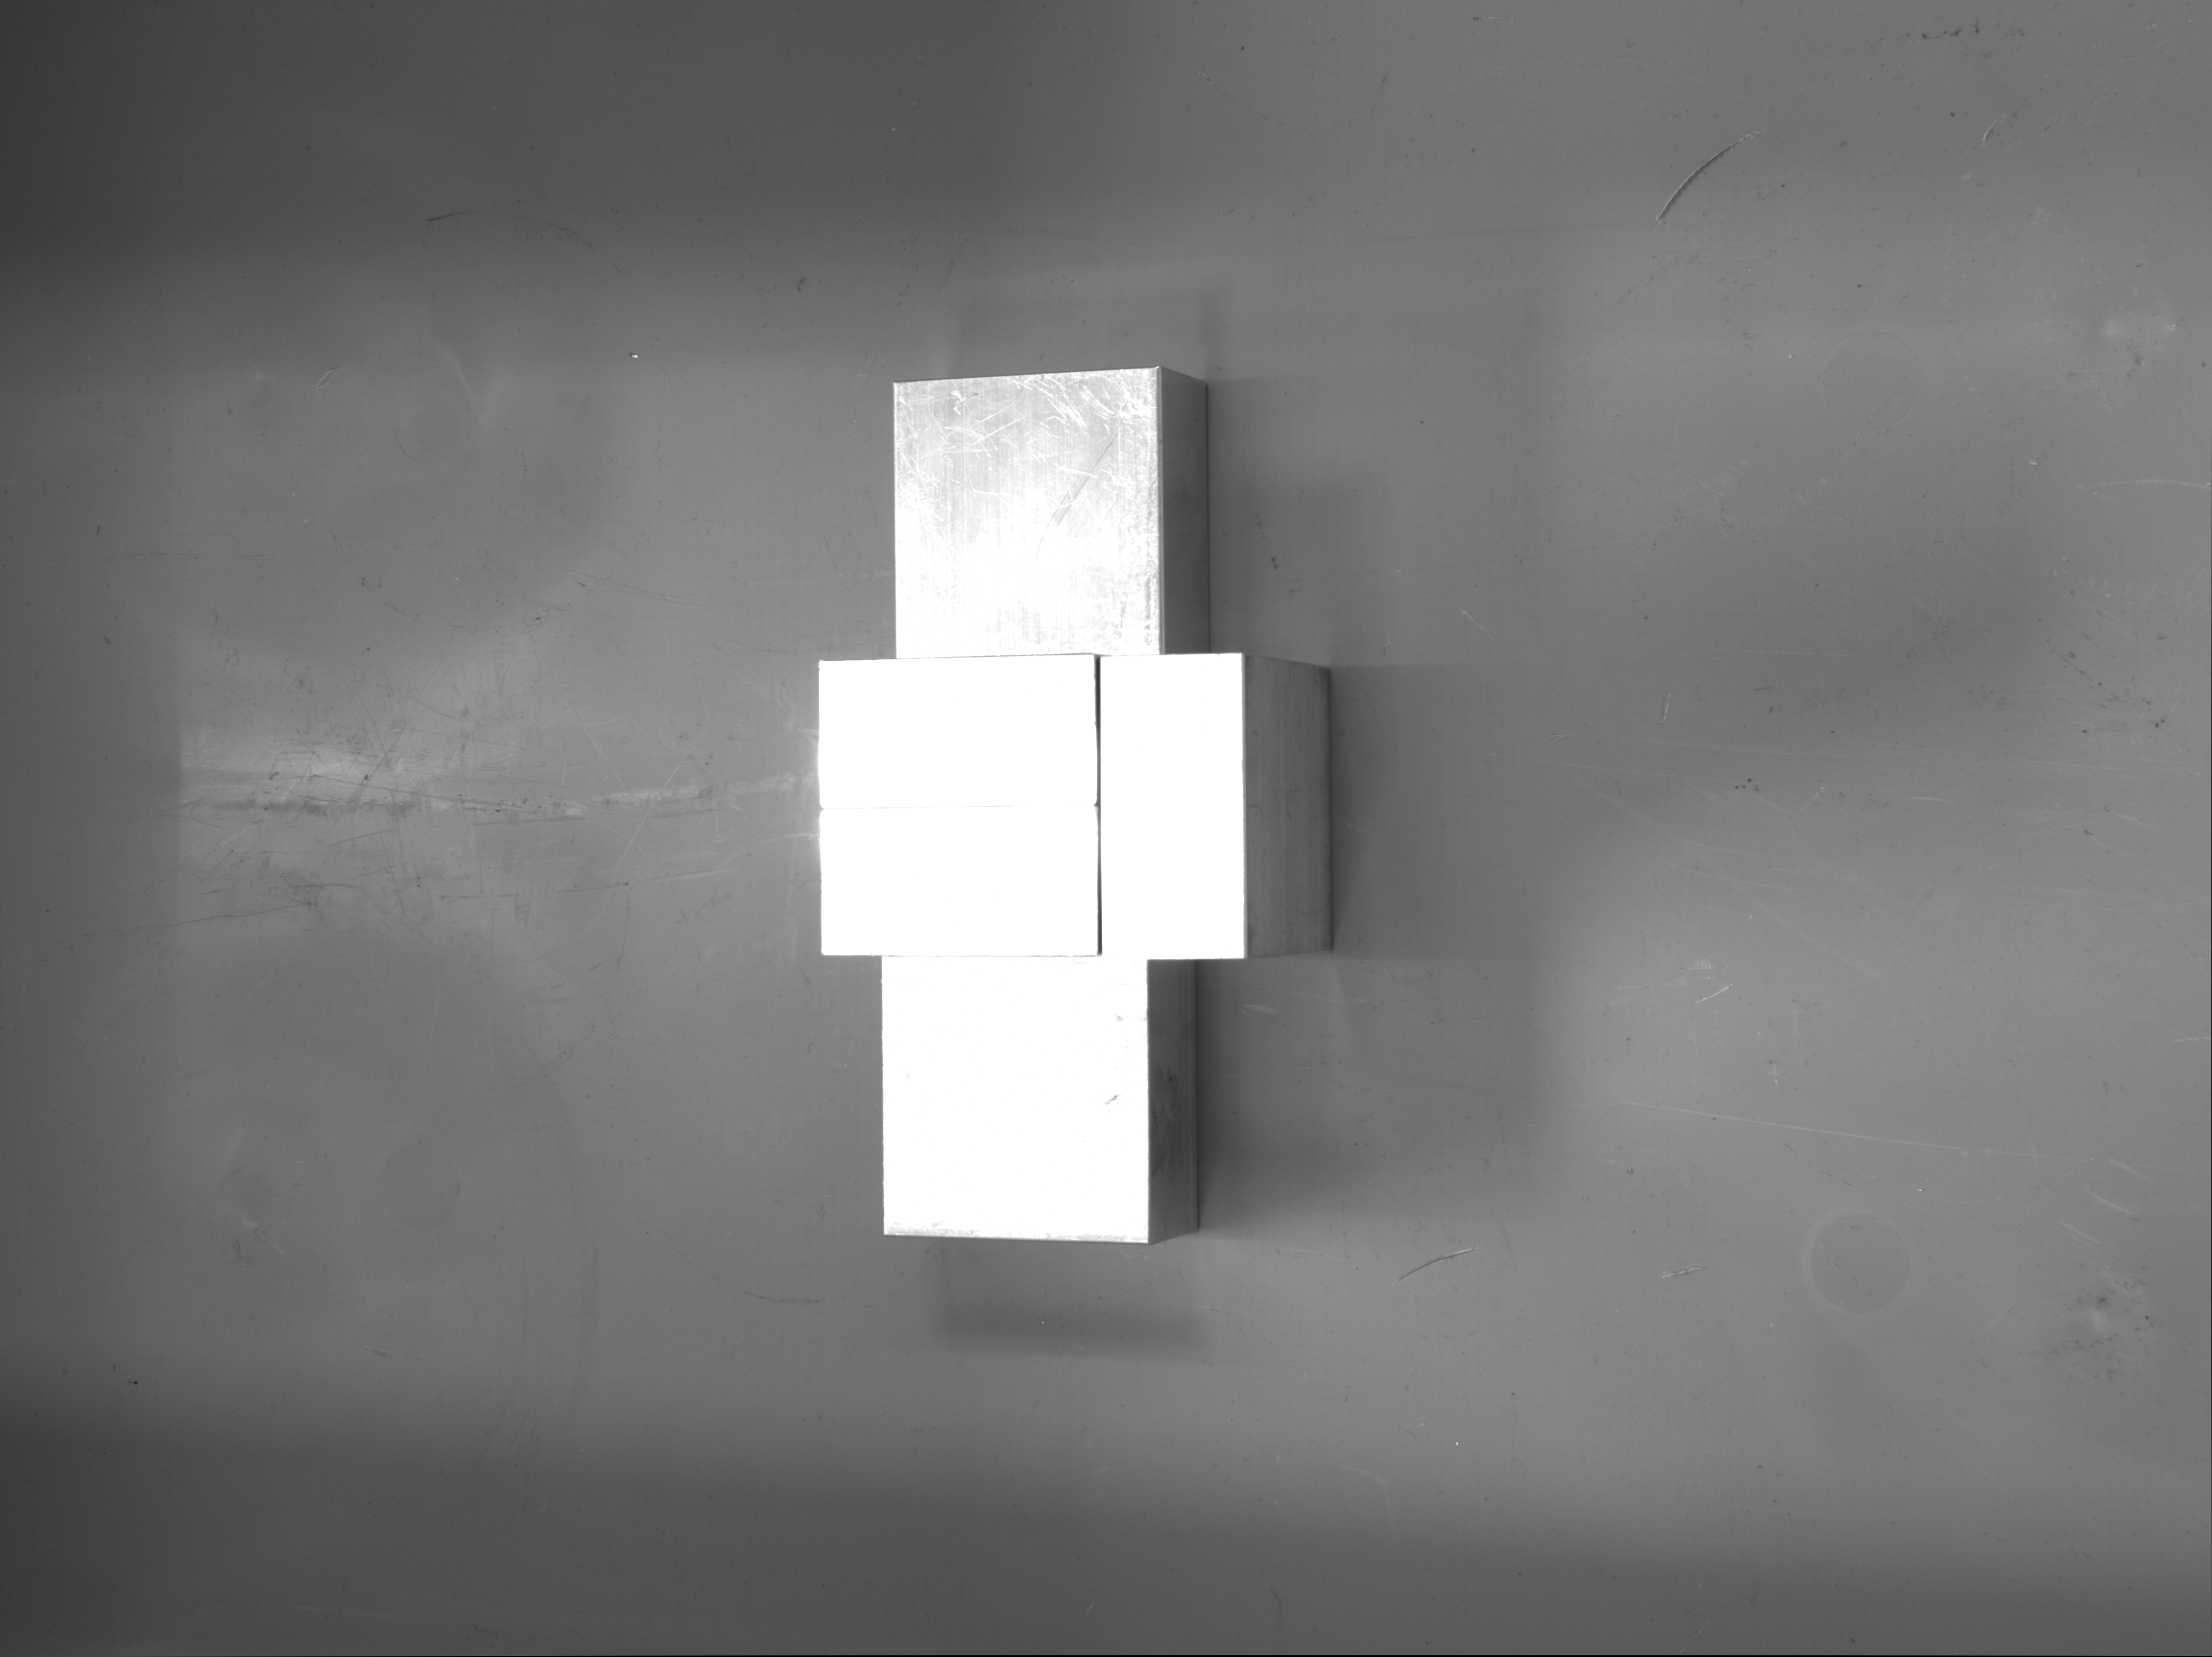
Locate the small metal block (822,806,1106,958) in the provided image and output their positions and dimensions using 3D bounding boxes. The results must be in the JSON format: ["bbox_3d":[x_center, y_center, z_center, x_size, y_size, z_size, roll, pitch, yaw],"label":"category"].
[{"bbox_3d":[-0.016,0.009,0.637,0.050,0.050,0.025,0,90,20],"label":"small metal block"}]

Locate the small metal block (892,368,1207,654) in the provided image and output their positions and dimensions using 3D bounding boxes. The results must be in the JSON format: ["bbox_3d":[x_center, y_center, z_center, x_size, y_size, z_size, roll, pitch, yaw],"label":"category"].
[{"bbox_3d":[-0.010,-0.054,0.648,0.050,0.025,0.050,0,90,20],"label":"small metal block"}]

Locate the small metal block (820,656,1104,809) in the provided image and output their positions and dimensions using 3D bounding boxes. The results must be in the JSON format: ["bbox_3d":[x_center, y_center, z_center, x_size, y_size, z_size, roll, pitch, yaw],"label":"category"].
[{"bbox_3d":[-0.016,-0.016,0.637,0.050,0.050,0.025,0,90,20],"label":"small metal block"}]

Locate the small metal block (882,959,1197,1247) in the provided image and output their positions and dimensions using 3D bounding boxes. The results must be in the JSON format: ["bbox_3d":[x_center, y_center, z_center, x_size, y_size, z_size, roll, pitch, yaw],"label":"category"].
[{"bbox_3d":[-0.012,0.047,0.649,0.050,0.025,0.050,0,90,20],"label":"small metal block"}]

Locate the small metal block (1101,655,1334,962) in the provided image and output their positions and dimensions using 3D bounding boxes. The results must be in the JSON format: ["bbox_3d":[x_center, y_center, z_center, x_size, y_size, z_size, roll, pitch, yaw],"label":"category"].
[{"bbox_3d":[0.020,-0.003,0.624,0.025,0.050,0.050,0,90,20],"label":"small metal block"}]
